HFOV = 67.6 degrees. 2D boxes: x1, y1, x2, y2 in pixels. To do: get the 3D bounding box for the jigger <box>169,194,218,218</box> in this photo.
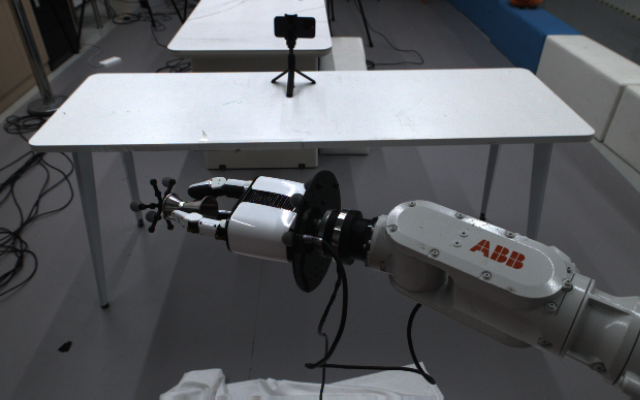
[{"bbox_3d":[-0.180,0.007,0.700,0.071,0.043,0.043,5,33,23],"label":"jigger"}]
